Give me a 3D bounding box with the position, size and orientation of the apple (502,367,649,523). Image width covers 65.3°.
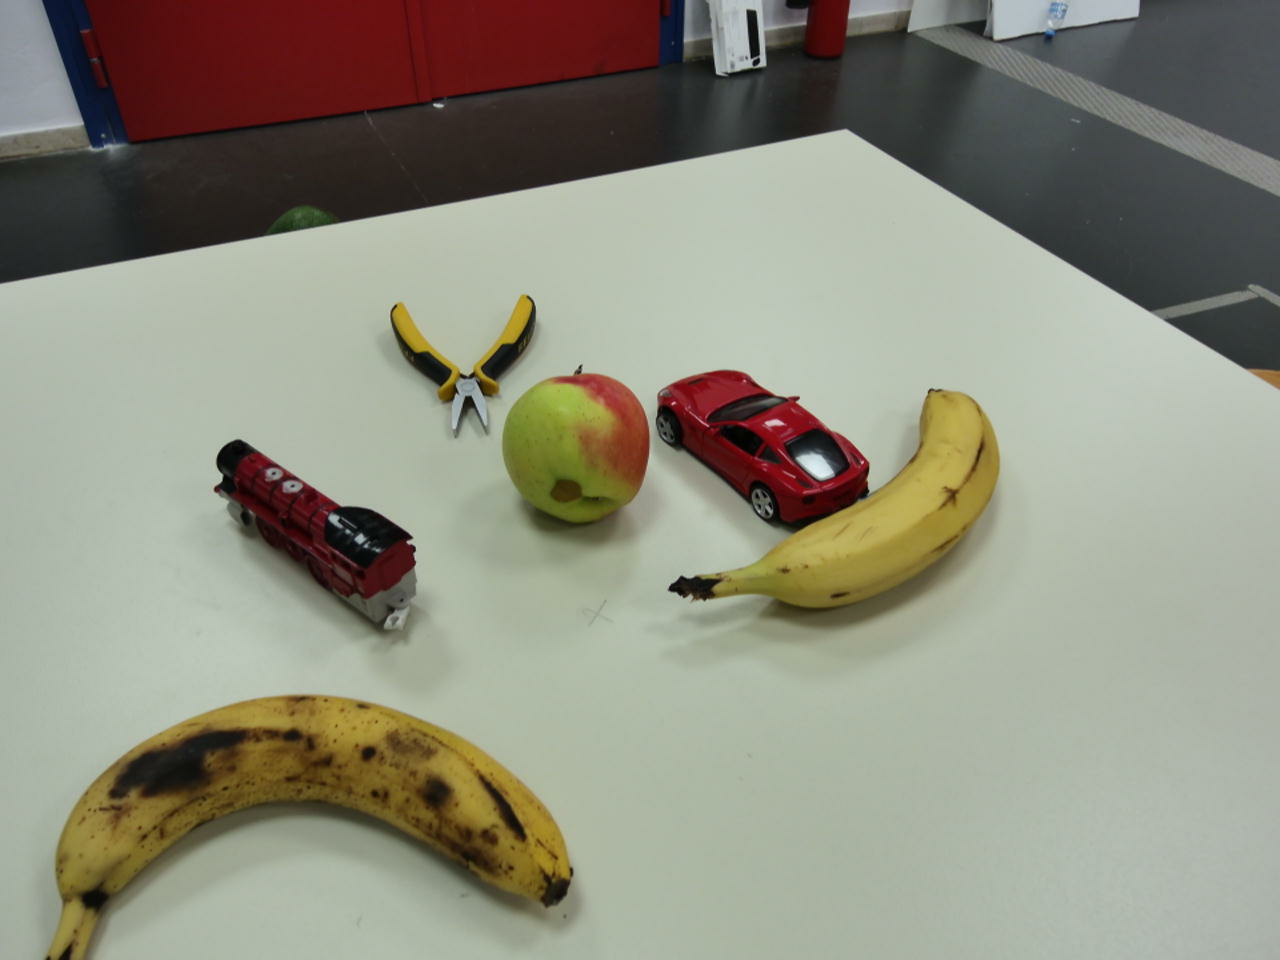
[{"bbox_3d":[-0.030,-0.018,0.503,0.075,0.074,0.075,-31,48,-34],"label":"apple"}]
